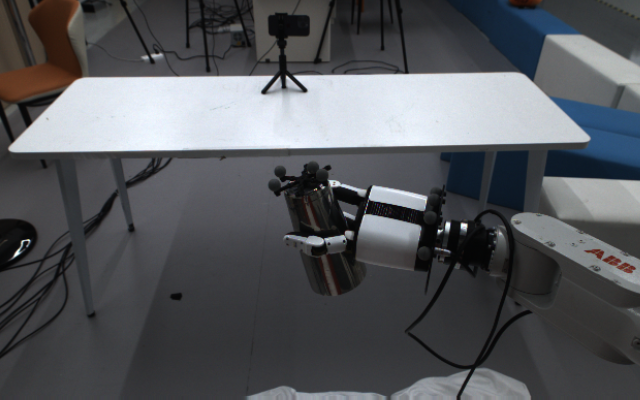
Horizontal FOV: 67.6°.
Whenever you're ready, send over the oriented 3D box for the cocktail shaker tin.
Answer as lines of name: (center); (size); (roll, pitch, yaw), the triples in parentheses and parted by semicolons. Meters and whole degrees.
cocktail shaker tin: (0.004, 0.048, 0.719); (0.093, 0.170, 0.093); (-15, 28, 8)
